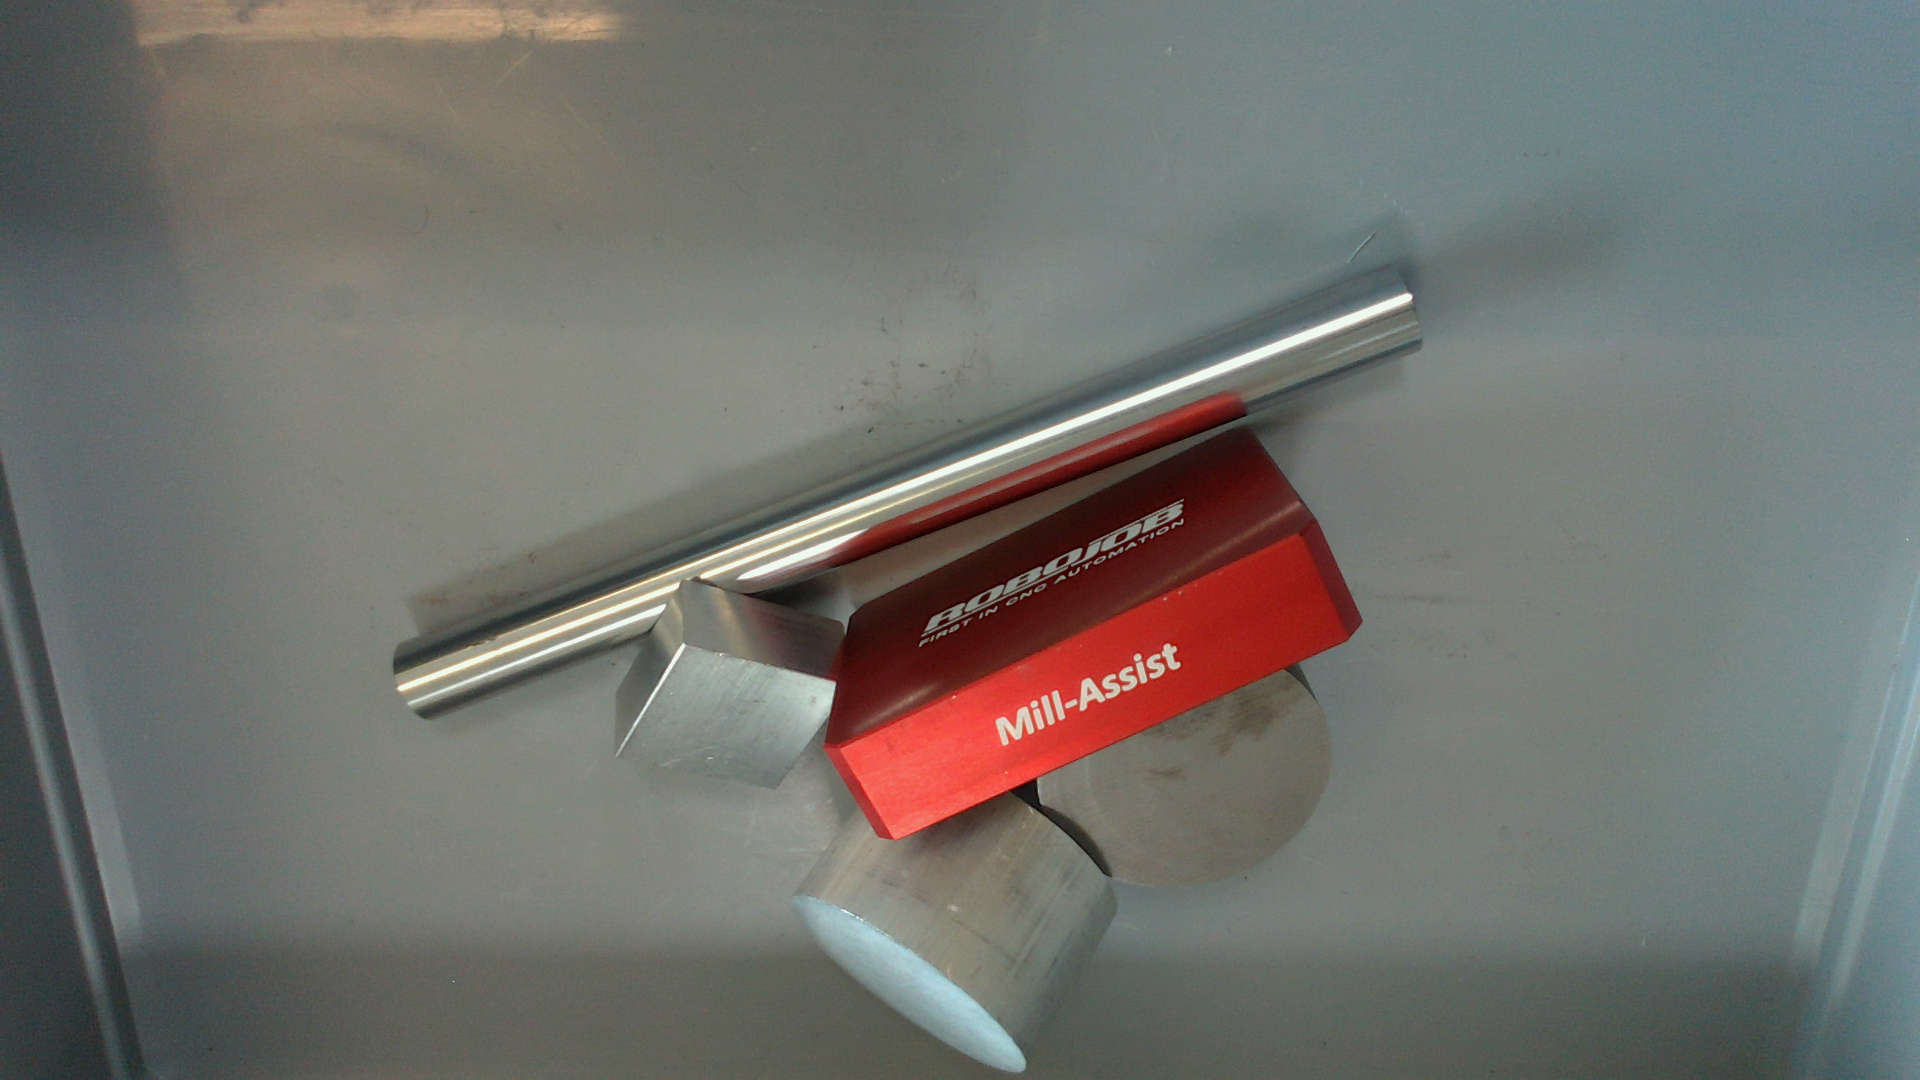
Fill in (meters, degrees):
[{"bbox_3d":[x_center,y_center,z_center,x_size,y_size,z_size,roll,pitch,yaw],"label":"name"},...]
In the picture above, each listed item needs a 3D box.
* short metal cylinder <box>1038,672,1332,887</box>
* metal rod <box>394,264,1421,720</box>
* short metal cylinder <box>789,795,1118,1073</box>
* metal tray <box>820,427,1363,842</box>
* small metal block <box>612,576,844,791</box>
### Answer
[{"bbox_3d":[0.059,0.051,0.393,0.080,0.050,0.080,-2,119,-4],"label":"short metal cylinder"},{"bbox_3d":[-0.020,-0.011,0.389,0.300,0.025,0.025,-20,109,7],"label":"metal rod"},{"bbox_3d":[-0.002,0.107,0.395,0.080,0.080,0.050,45,63,-15],"label":"short metal cylinder"},{"bbox_3d":[0.031,0.021,0.366,0.130,0.090,0.030,-25,108,9],"label":"metal tray"},{"bbox_3d":[-0.066,0.042,0.394,0.050,0.025,0.050,18,126,-26],"label":"small metal block"}]
